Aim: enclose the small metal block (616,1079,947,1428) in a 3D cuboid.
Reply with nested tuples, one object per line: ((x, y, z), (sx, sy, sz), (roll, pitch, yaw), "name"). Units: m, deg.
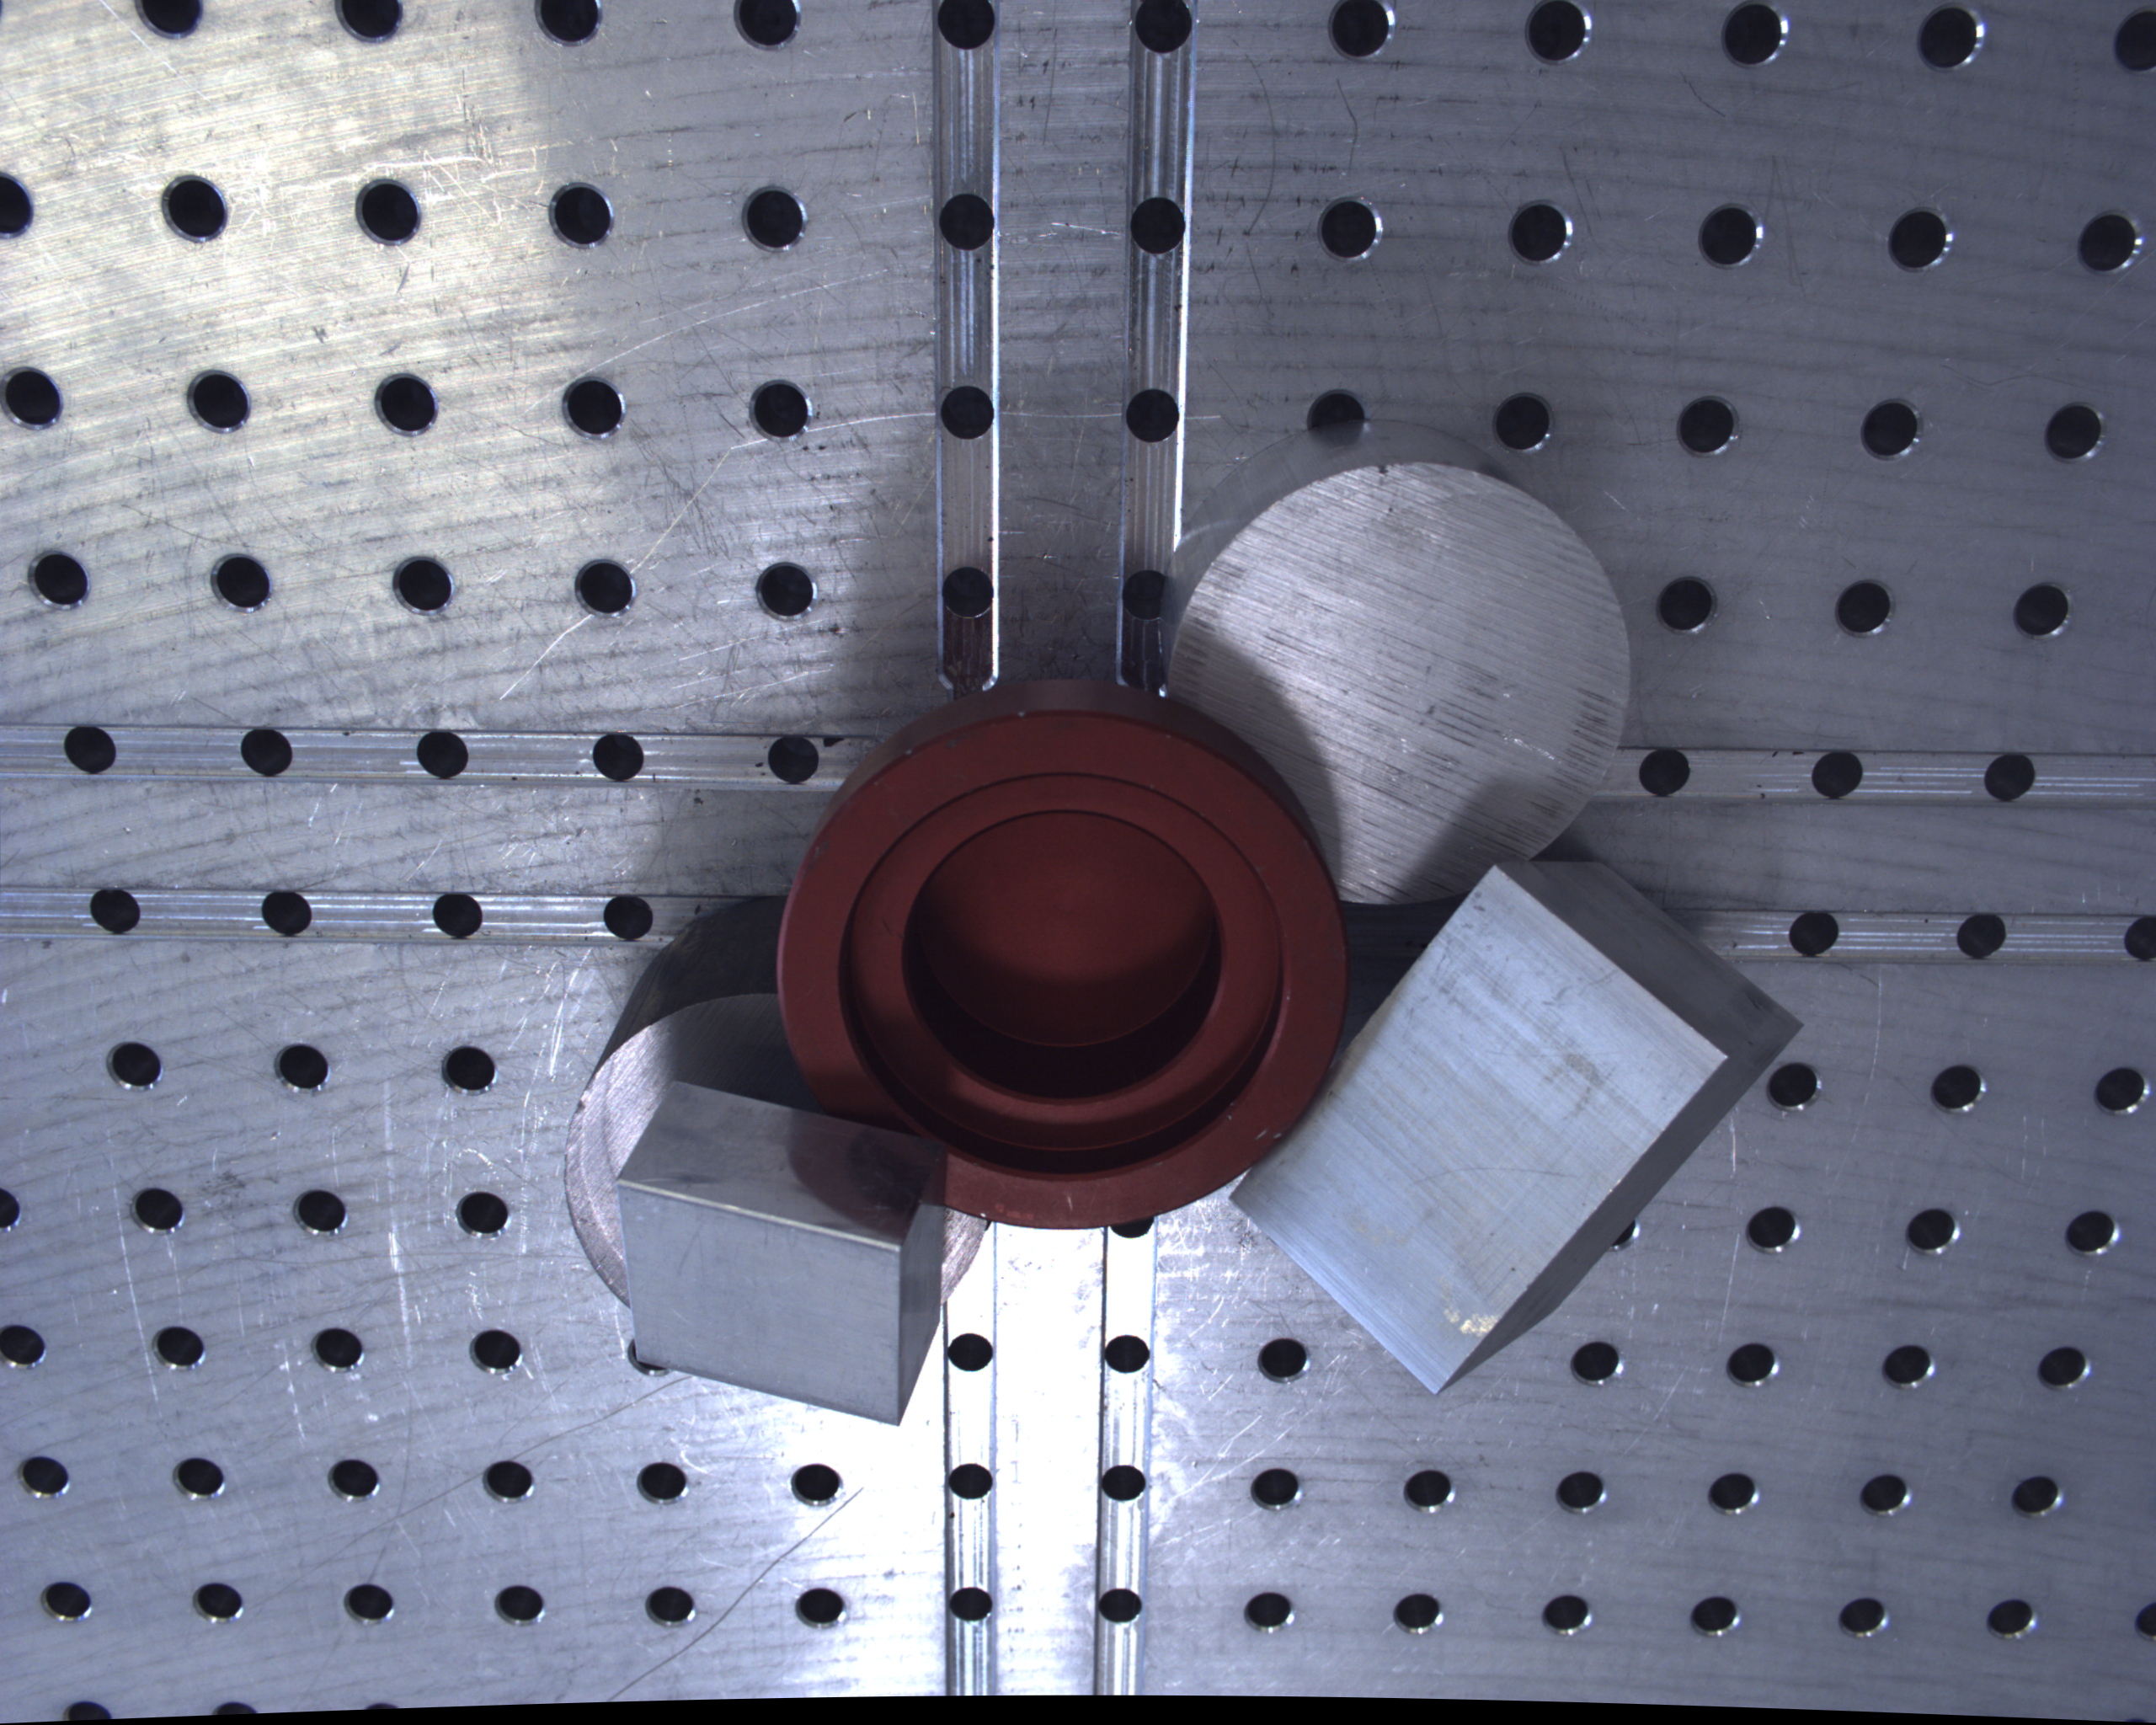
((-0.052, 0.070, 0.372), (0.050, 0.025, 0.050), (12, 130, 8), "small metal block")

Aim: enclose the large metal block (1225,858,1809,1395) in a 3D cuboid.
((0.085, 0.046, 0.395), (0.050, 0.080, 0.080), (43, 108, 21), "large metal block")

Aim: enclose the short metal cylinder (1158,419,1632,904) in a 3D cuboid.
((0.056, -0.038, 0.386), (0.081, 0.050, 0.079), (0, 110, 0), "short metal cylinder")

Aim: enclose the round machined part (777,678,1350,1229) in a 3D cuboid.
((-0.002, 0.013, 0.378), (0.099, 0.042, 0.097), (0, 110, 0), "round machined part")

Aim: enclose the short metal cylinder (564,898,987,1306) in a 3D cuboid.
((-0.057, 0.053, 0.419), (0.081, 0.050, 0.079), (0, 110, 0), "short metal cylinder")
